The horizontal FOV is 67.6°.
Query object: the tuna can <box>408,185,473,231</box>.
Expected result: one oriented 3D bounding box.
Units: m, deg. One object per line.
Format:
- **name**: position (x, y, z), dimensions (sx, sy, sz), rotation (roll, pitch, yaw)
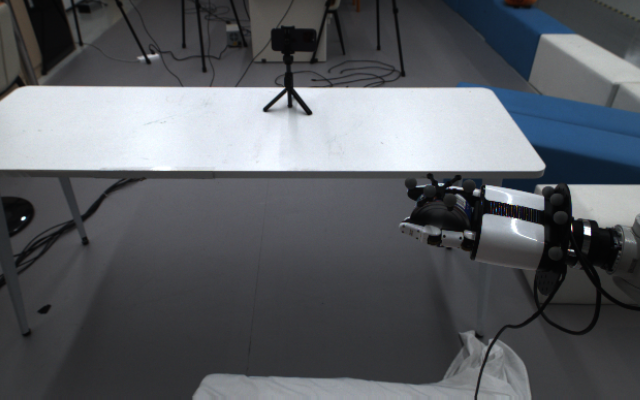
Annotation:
- **tuna can**: position (0.178, 0.024, 0.704), dimensions (0.085, 0.085, 0.034), rotation (14, 41, 16)
